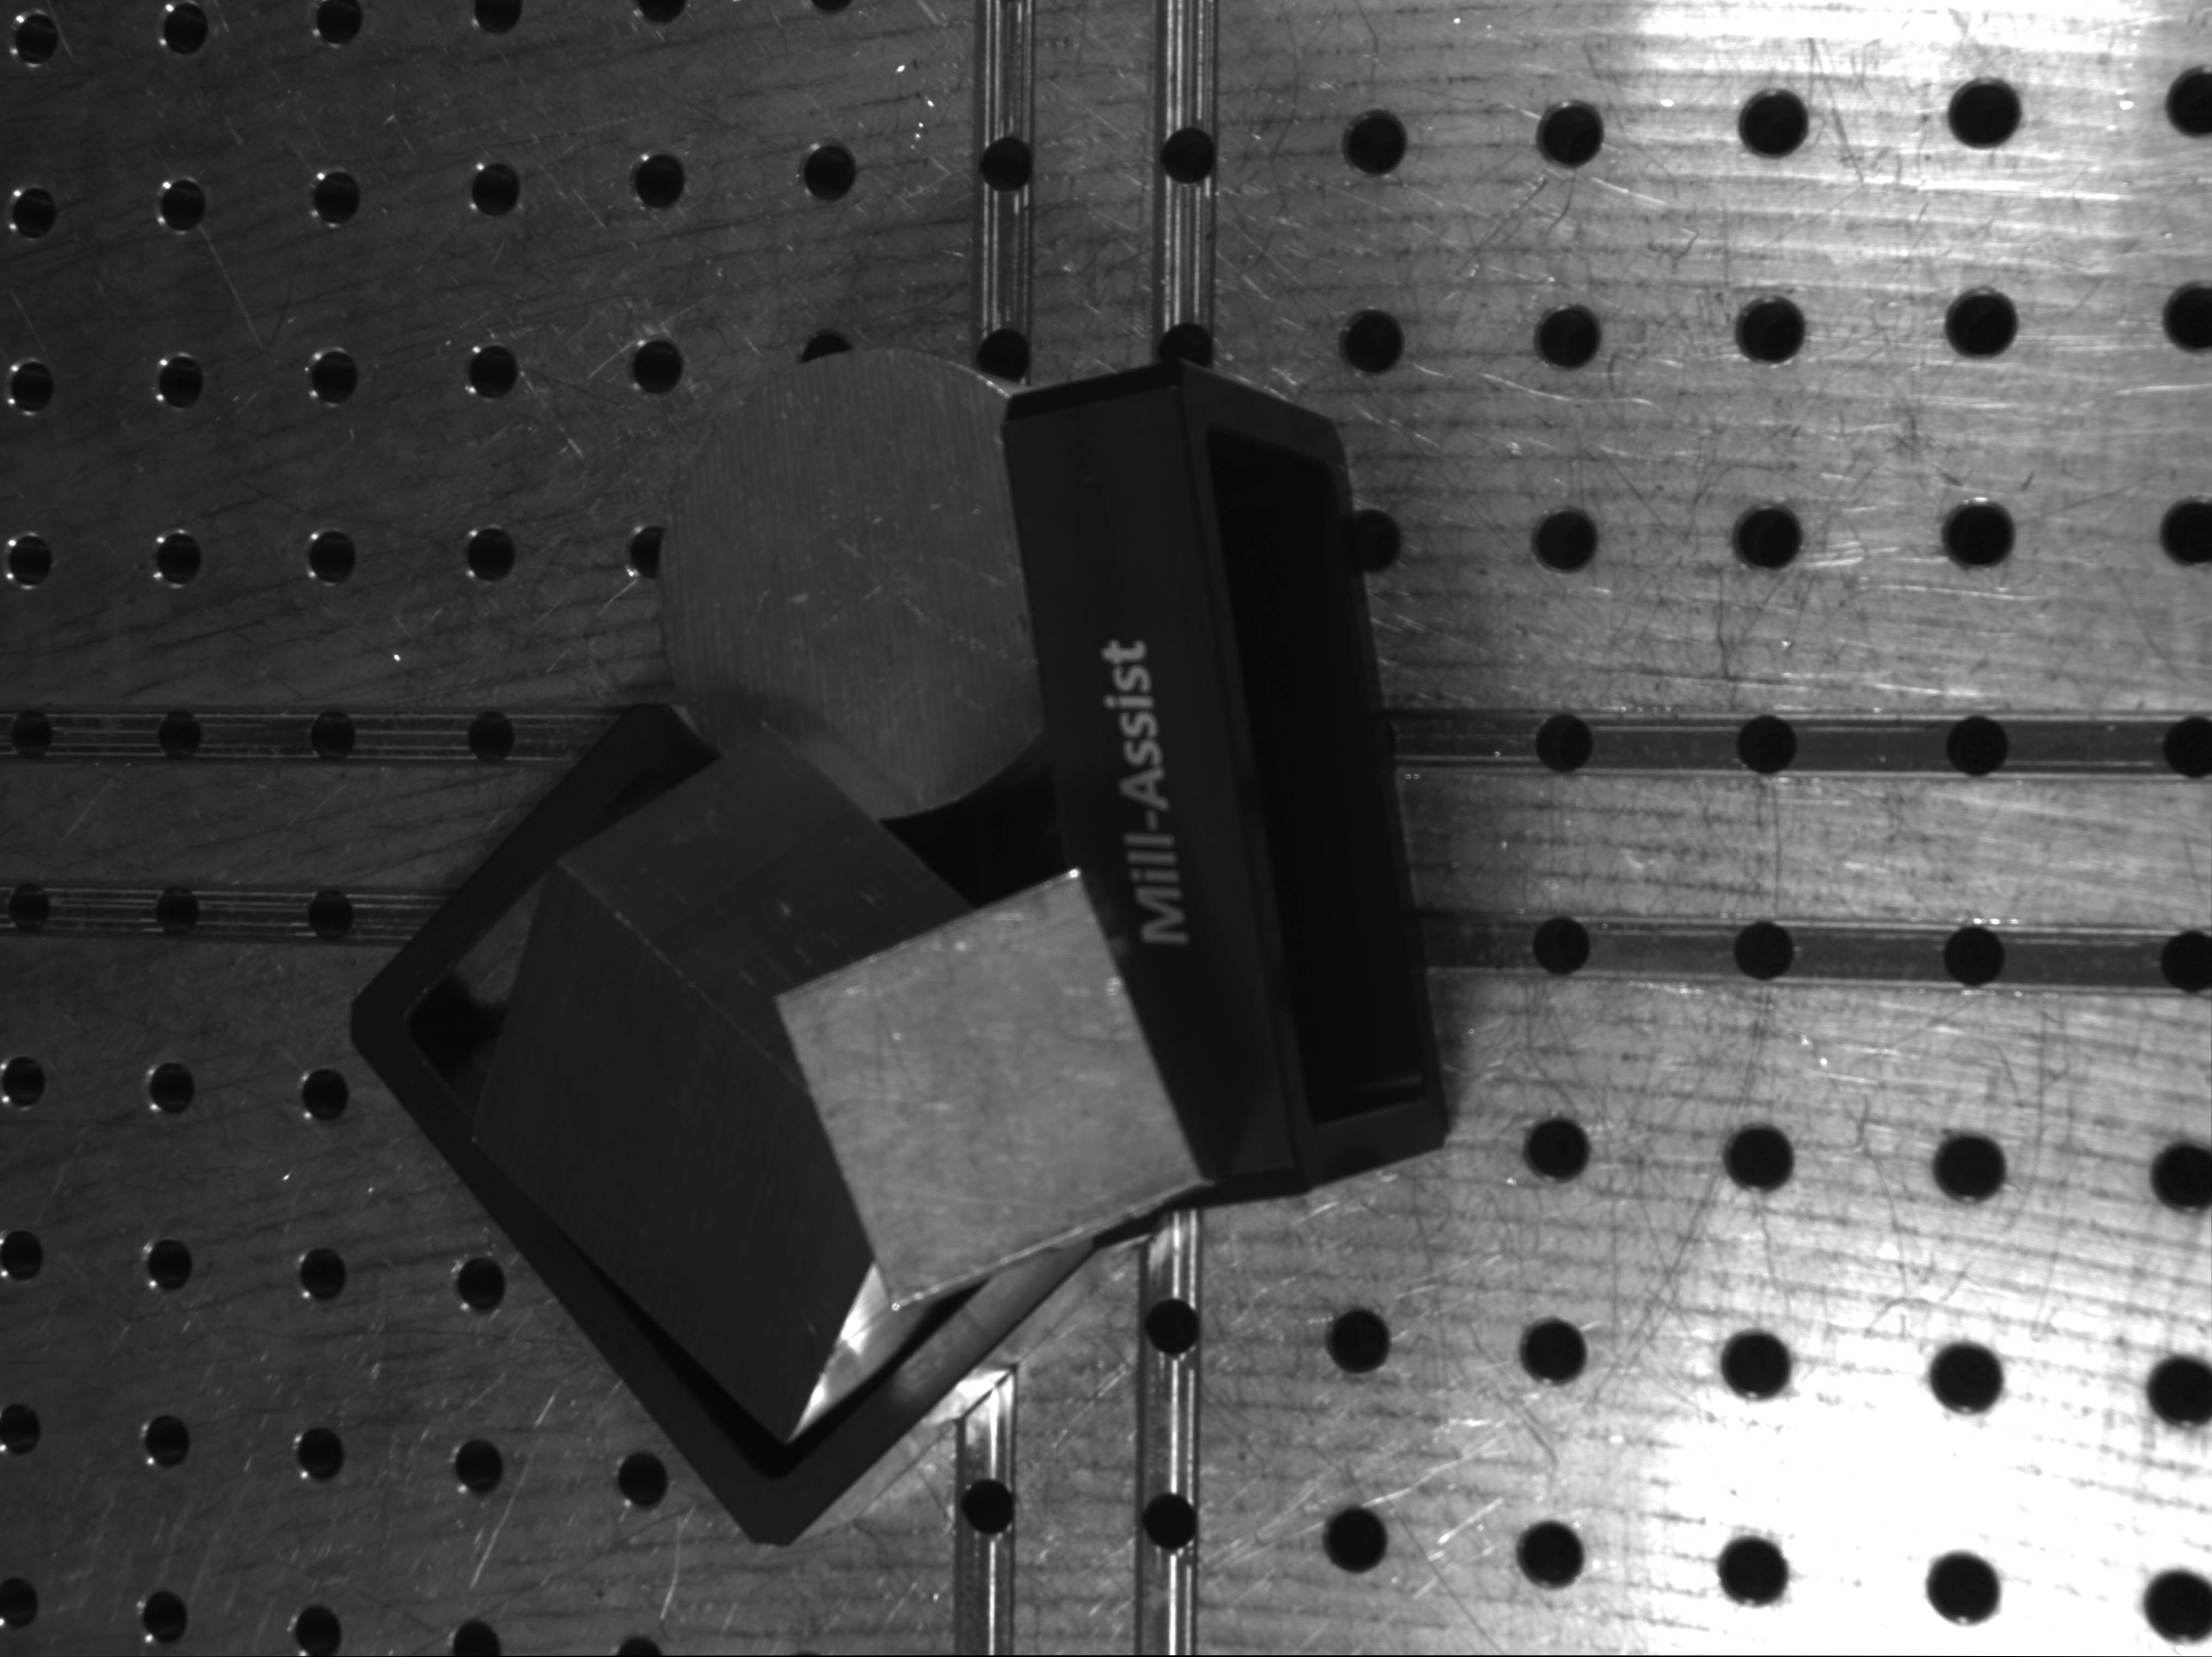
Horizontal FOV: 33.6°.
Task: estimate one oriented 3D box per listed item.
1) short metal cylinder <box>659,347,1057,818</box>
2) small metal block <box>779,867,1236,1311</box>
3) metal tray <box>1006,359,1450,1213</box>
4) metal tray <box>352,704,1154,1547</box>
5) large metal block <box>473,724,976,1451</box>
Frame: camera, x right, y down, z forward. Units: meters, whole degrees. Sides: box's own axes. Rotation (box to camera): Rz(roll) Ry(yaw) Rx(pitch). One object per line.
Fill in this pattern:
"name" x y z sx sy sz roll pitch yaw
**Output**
"short metal cylinder" -0.031 -0.042 0.645 0.080 0.050 0.080 0 90 20
"small metal block" -0.014 0.039 0.552 0.050 0.025 0.050 -23 83 7
"metal tray" 0.022 -0.006 0.604 0.030 0.090 0.130 -10 87 20
"metal tray" -0.065 0.052 0.666 0.090 0.030 0.130 -45 76 14
"large metal block" -0.055 0.044 0.620 0.080 0.050 0.080 41 138 15
